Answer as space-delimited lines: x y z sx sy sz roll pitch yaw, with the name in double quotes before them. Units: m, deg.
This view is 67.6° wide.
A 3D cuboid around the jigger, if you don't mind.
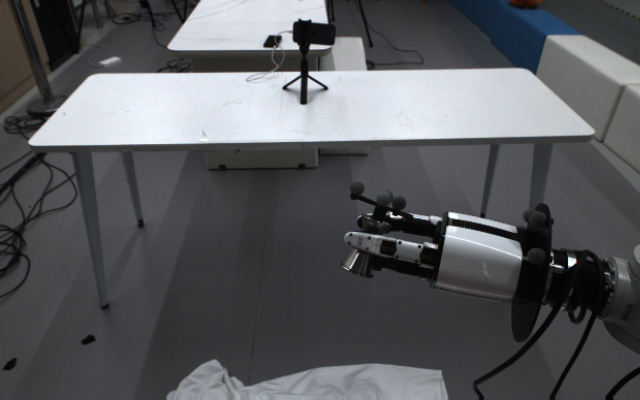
"jigger" 0.055 0.054 0.586 0.043 0.071 0.043 22 6 -2
